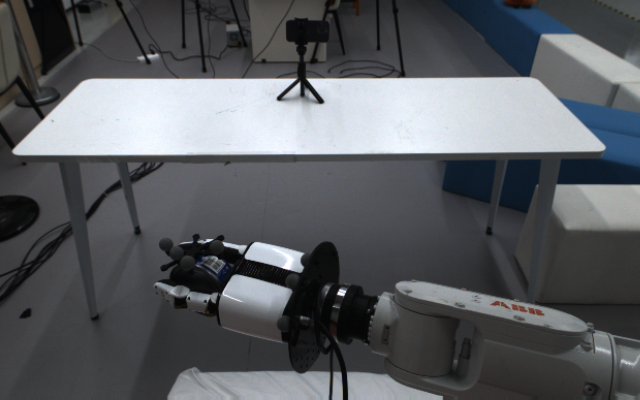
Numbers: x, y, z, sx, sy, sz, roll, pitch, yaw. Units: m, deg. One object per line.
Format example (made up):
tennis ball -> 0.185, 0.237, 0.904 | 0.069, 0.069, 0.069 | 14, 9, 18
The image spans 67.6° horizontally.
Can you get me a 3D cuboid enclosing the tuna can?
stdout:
tuna can -> -0.148, 0.110, 0.632 | 0.085, 0.085, 0.034 | 14, 33, 17
